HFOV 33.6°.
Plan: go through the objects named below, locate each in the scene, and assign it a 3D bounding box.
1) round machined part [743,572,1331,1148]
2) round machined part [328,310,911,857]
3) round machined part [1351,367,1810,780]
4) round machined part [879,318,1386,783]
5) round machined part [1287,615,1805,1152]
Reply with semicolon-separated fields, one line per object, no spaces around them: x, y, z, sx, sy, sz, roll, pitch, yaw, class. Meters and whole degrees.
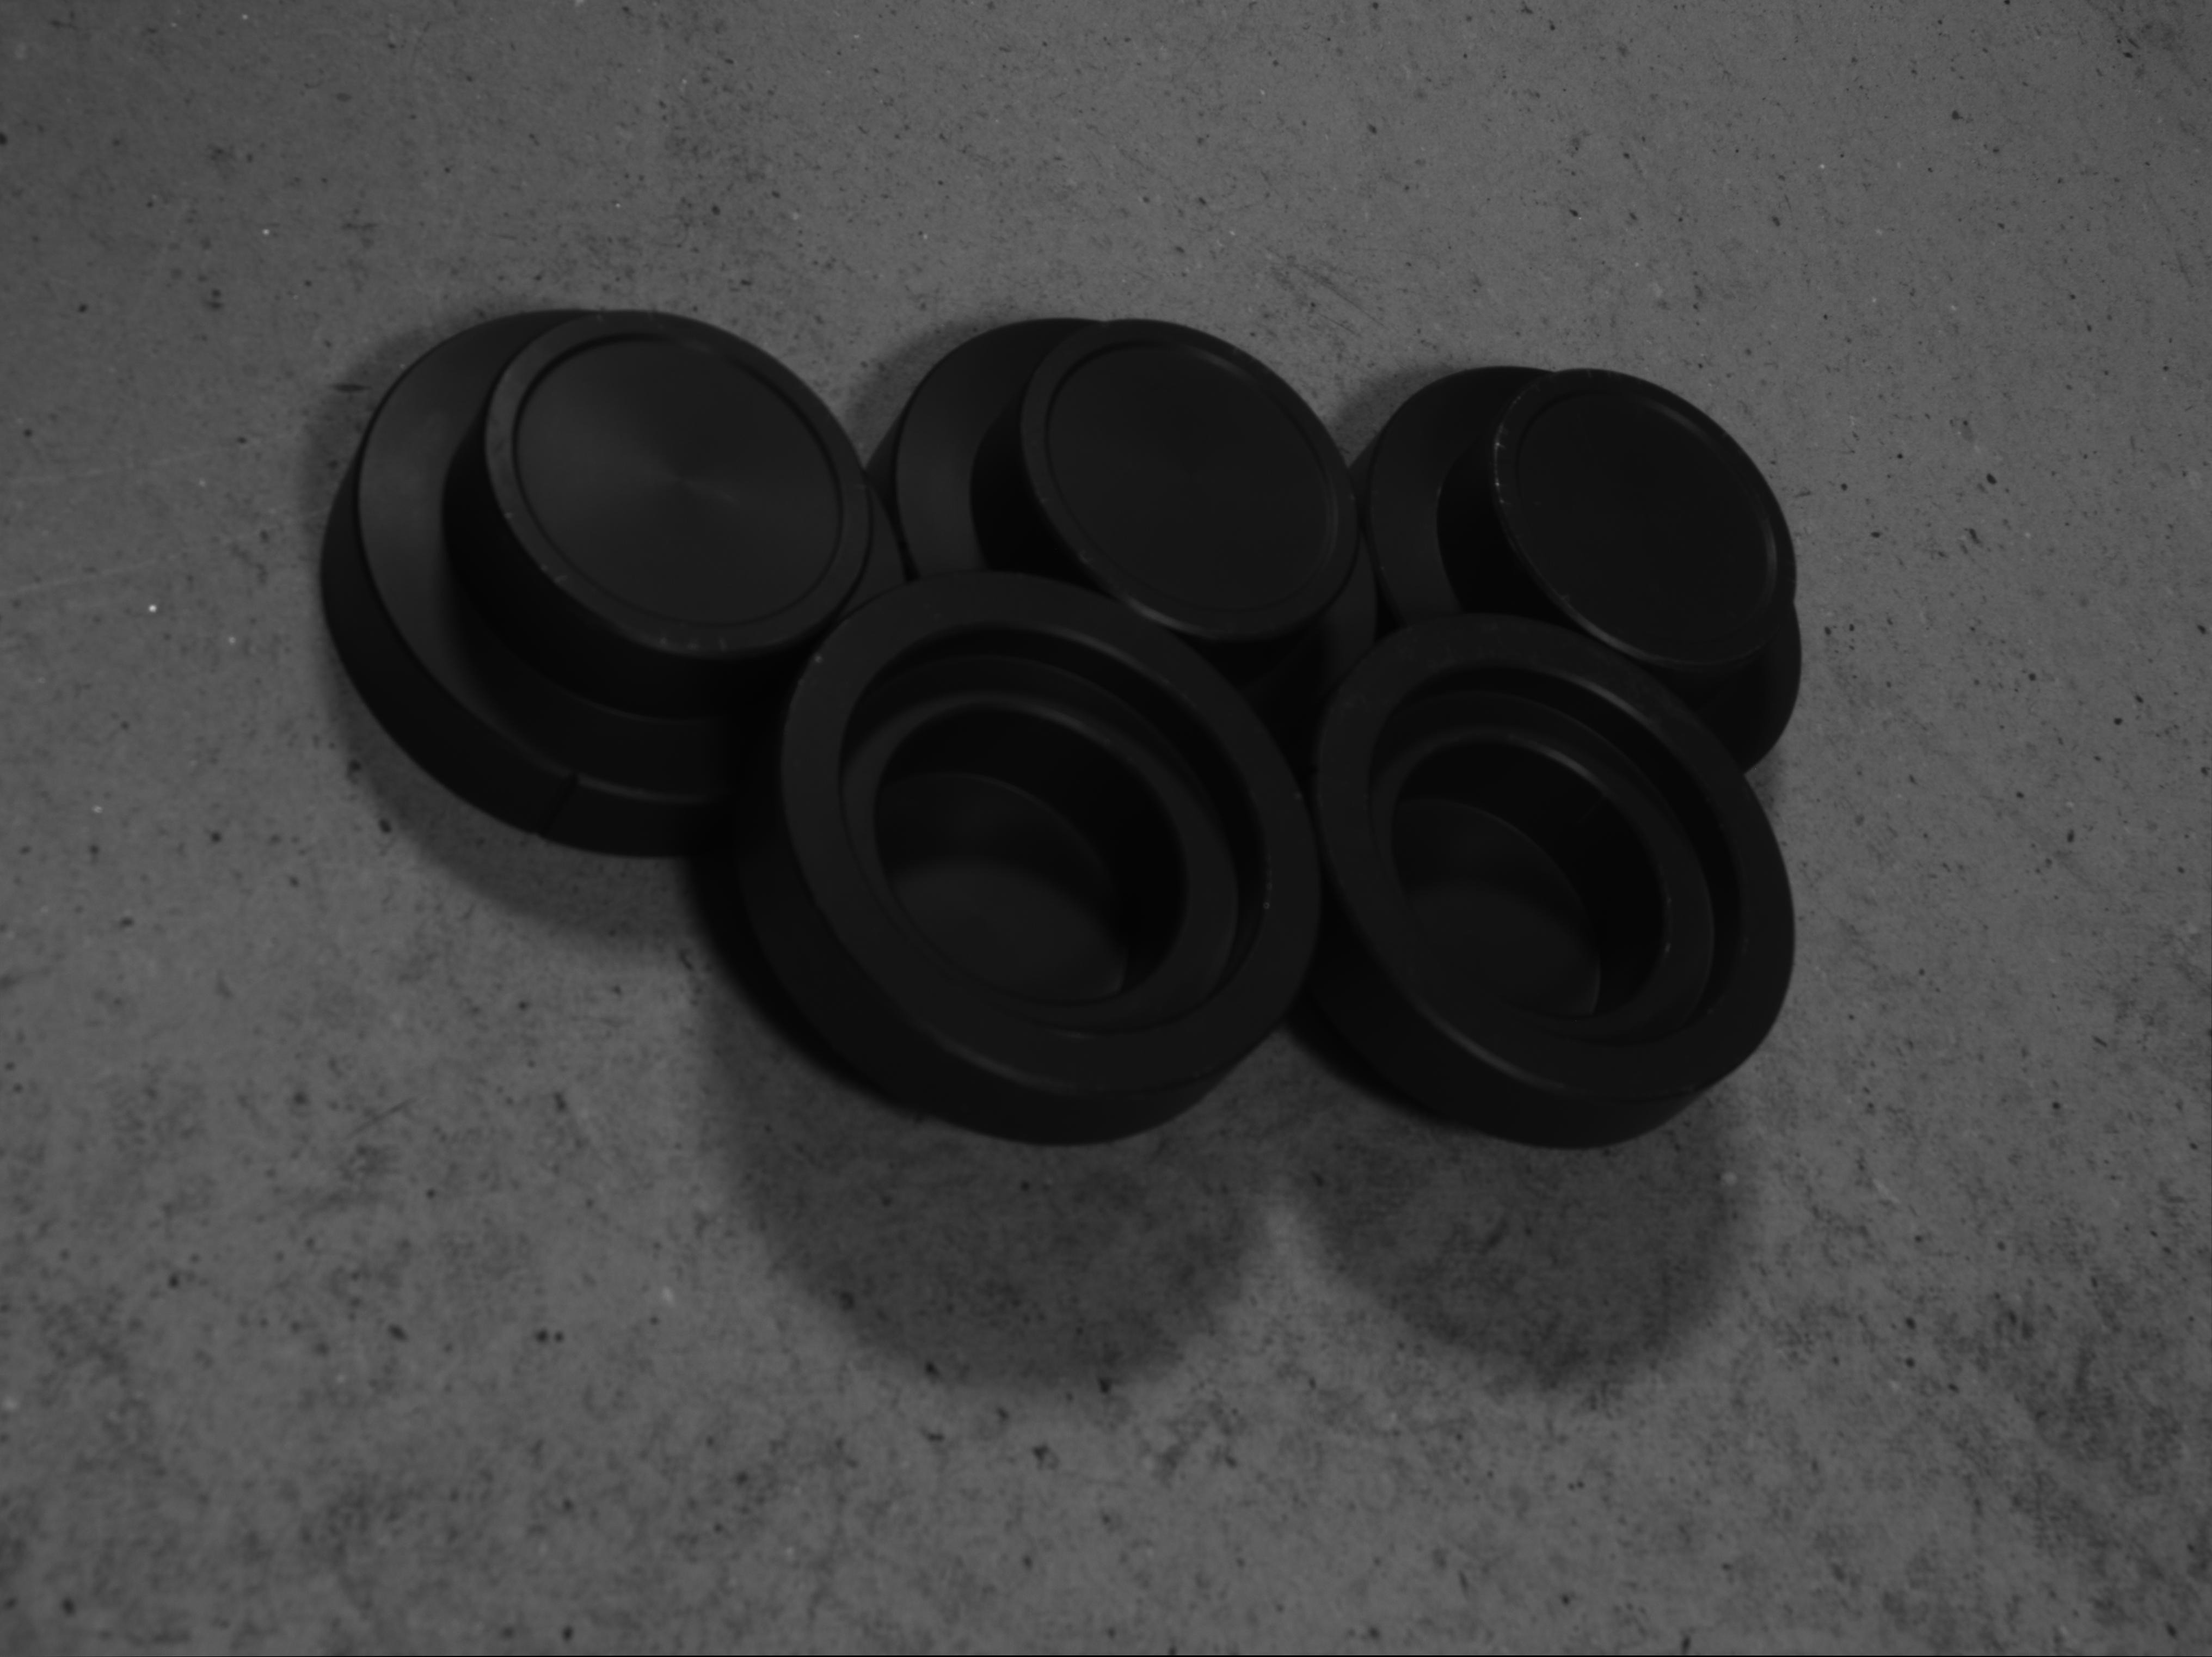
-0.015;0.009;0.615;0.098;0.042;0.098;14;56;-21;round machined part
-0.078;-0.048;0.617;0.098;0.042;0.098;14;56;-21;round machined part
0.096;-0.050;0.711;0.098;0.042;0.098;14;56;-21;round machined part
0.008;-0.053;0.666;0.098;0.042;0.098;14;56;-21;round machined part
0.073;0.014;0.660;0.098;0.042;0.098;14;56;-21;round machined part
